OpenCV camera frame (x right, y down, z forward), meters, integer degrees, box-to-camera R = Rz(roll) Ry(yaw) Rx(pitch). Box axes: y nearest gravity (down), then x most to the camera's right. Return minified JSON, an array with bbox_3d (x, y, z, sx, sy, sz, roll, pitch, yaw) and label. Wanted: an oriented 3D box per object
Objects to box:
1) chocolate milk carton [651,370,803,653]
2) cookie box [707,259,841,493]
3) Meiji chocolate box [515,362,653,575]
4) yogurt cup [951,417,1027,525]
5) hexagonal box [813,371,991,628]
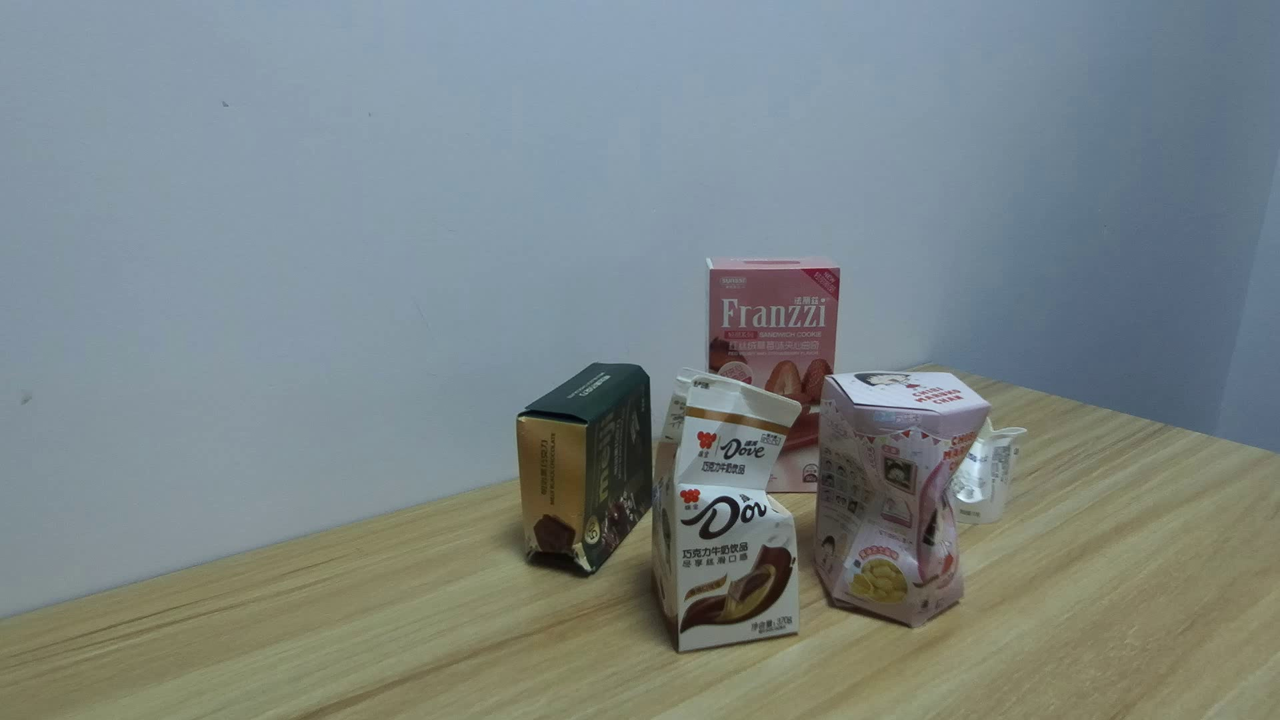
[{"bbox_3d":[0.048,0.076,0.400,0.076,0.155,0.073,-4,21,-10],"label":"chocolate milk carton"},{"bbox_3d":[0.100,0.015,0.554,0.096,0.184,0.048,0,15,3],"label":"cookie box"},{"bbox_3d":[-0.035,0.071,0.499,0.058,0.116,0.123,7,18,22],"label":"Meiji chocolate box"},{"bbox_3d":[0.249,0.078,0.529,0.055,0.072,0.054,-7,19,-28],"label":"yogurt cup"},{"bbox_3d":[0.151,0.080,0.422,0.093,0.134,0.089,6,17,20],"label":"hexagonal box"}]
